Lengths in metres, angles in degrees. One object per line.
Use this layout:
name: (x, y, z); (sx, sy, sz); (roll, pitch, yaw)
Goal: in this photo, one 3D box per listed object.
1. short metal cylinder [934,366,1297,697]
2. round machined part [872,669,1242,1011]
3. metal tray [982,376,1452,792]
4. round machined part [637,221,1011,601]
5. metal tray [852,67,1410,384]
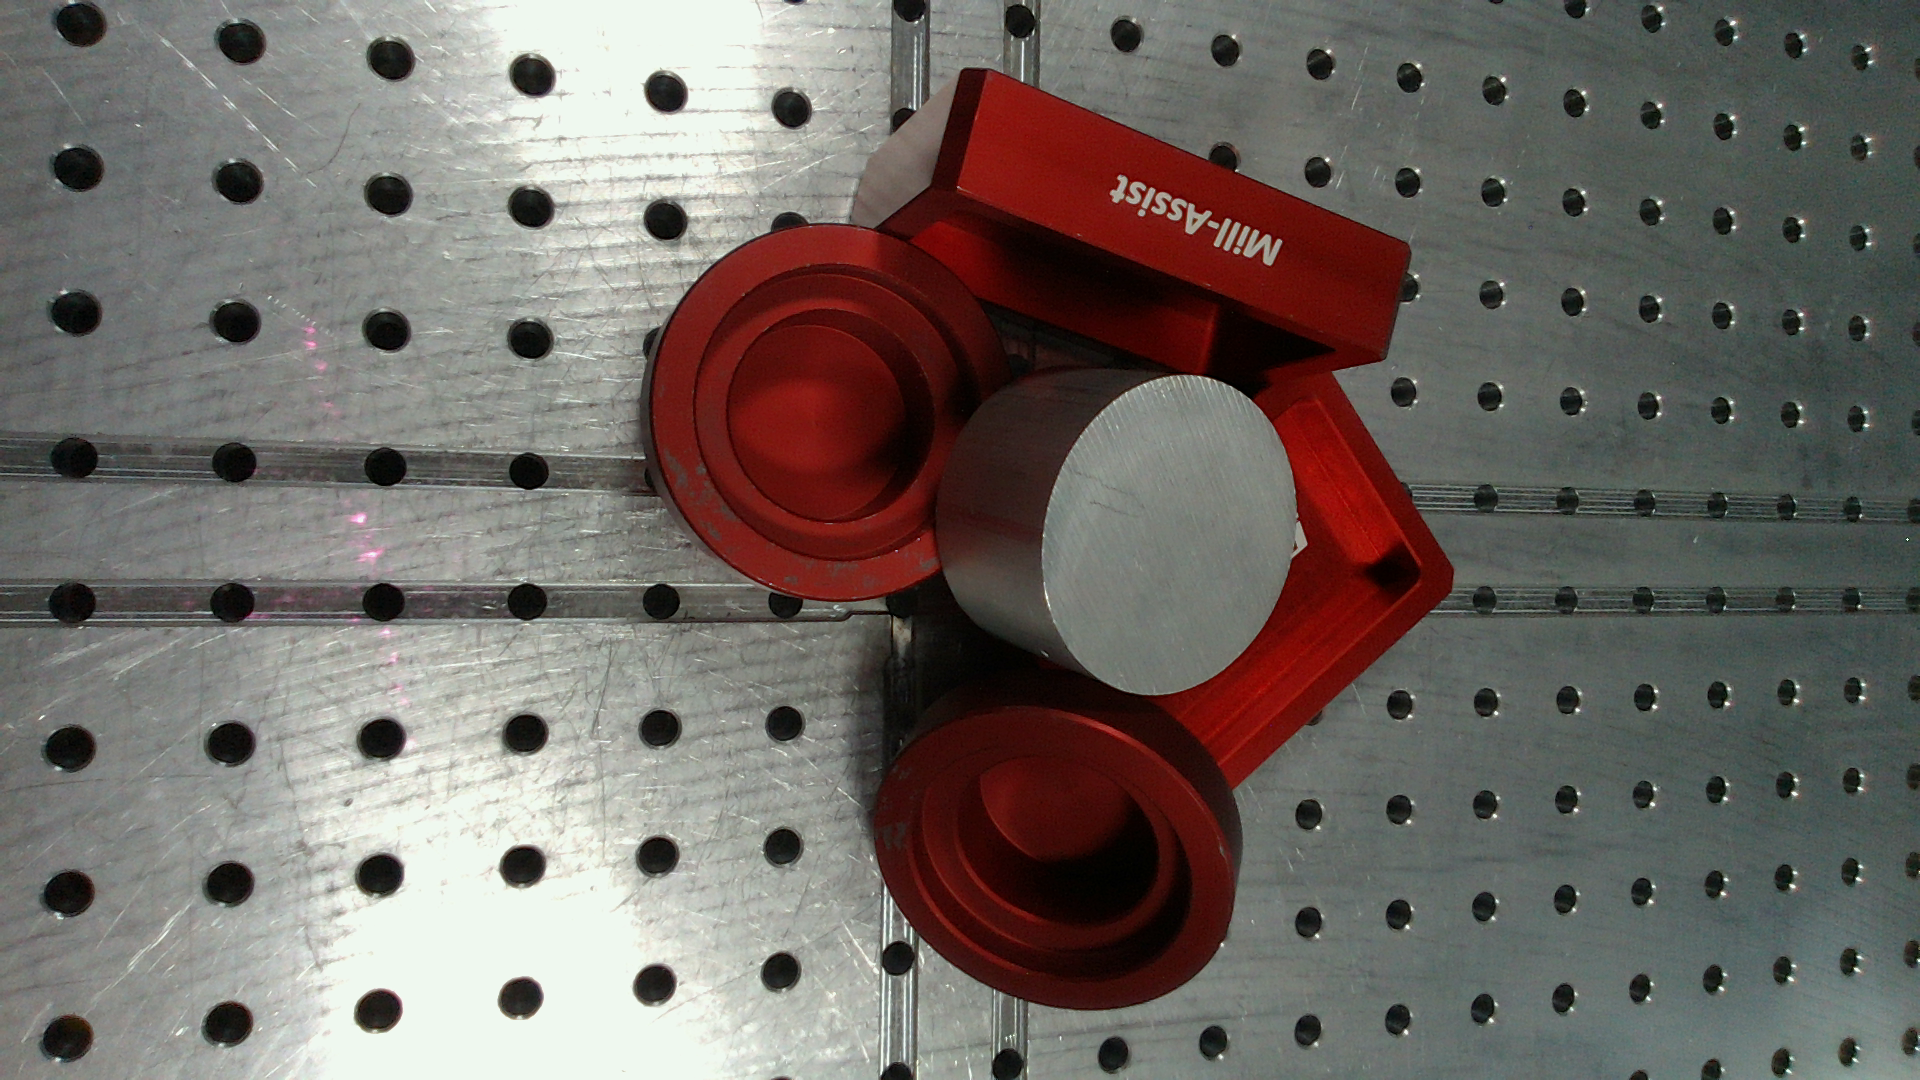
short metal cylinder: (0.040, -0.004, 0.358); (0.080, 0.050, 0.080); (-6, 102, -31)
round machined part: (0.029, 0.078, 0.379); (0.098, 0.042, 0.098); (7, 117, 14)
metal tray: (0.079, 0.016, 0.421); (0.130, 0.030, 0.090); (-38, 102, -16)
round machined part: (-0.038, -0.033, 0.373); (0.098, 0.042, 0.098); (0, 90, -20)
metal tray: (0.042, -0.078, 0.376); (0.130, 0.090, 0.030); (16, 85, -19)
